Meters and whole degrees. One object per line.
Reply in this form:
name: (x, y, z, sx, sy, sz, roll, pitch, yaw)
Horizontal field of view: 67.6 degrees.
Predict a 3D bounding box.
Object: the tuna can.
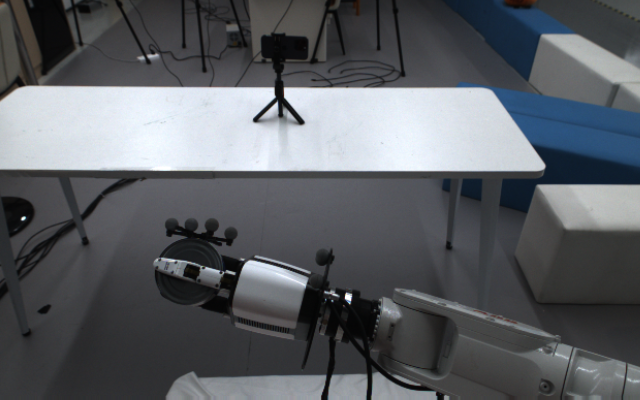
tuna can: (-0.165, 0.093, 0.624, 0.085, 0.034, 0.085, 1, 71, -2)
